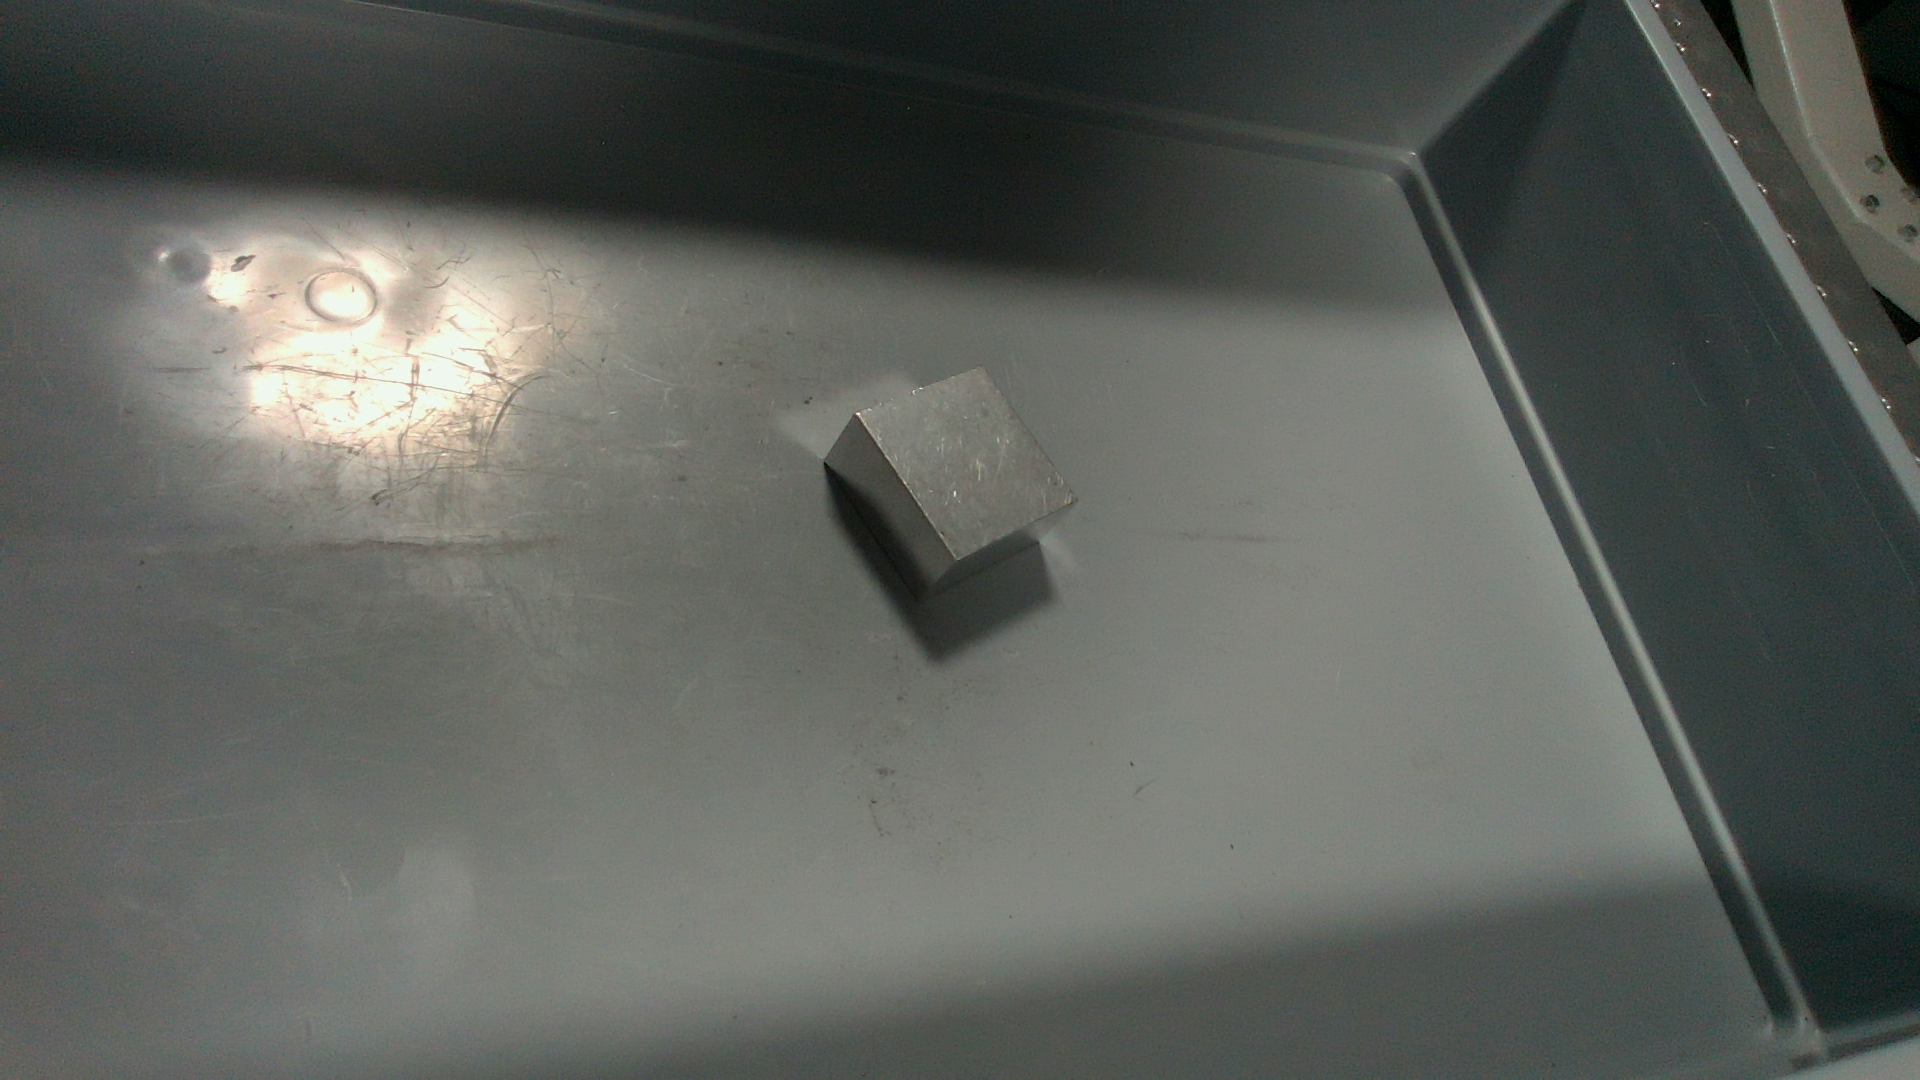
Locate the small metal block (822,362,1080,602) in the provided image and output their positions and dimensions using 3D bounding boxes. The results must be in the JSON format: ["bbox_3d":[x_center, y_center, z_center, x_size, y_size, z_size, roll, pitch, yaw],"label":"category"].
[{"bbox_3d":[-0.003,-0.018,0.395,0.050,0.025,0.050,-26,76,-37],"label":"small metal block"}]
